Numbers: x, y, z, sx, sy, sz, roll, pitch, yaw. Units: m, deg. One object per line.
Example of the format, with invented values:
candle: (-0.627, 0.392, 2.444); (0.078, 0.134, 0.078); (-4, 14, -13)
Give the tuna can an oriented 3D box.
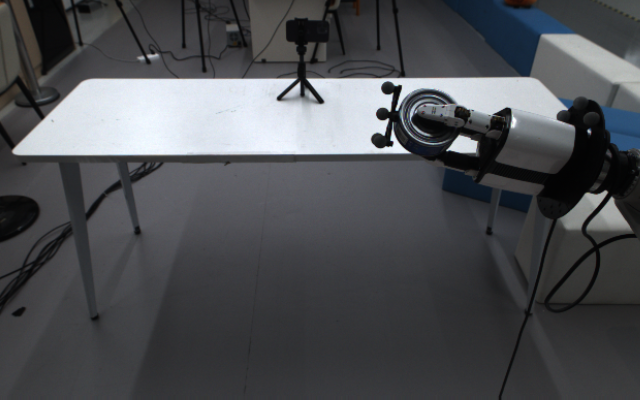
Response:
tuna can: (0.147, -0.109, 0.638); (0.085, 0.034, 0.085); (2, 73, -5)
